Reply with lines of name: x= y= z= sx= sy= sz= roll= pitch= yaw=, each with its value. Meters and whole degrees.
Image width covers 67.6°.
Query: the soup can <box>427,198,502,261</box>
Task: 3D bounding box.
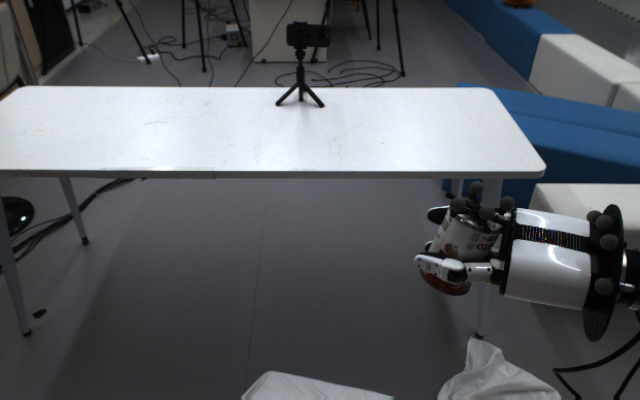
soup can: x=0.176 y=0.059 z=0.603 sx=0.067 sy=0.101 sz=0.067 roll=13 pitch=30 yaw=-8
